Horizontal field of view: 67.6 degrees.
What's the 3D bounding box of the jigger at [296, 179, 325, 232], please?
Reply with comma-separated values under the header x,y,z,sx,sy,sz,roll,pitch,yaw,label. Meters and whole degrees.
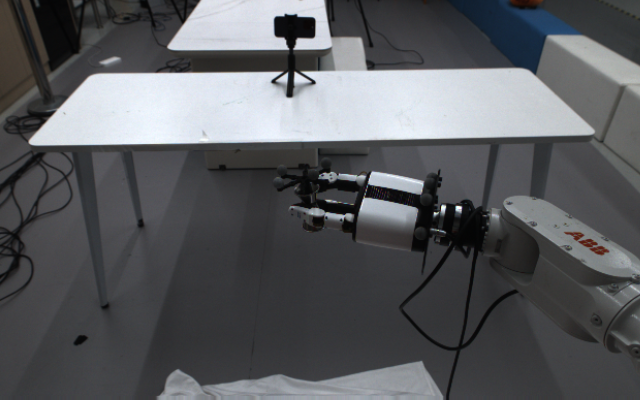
x,y,z,sx,sy,sz,roll,pitch,yaw,label
-0.013,0.010,0.758,0.043,0.071,0.043,-10,32,6,jigger
